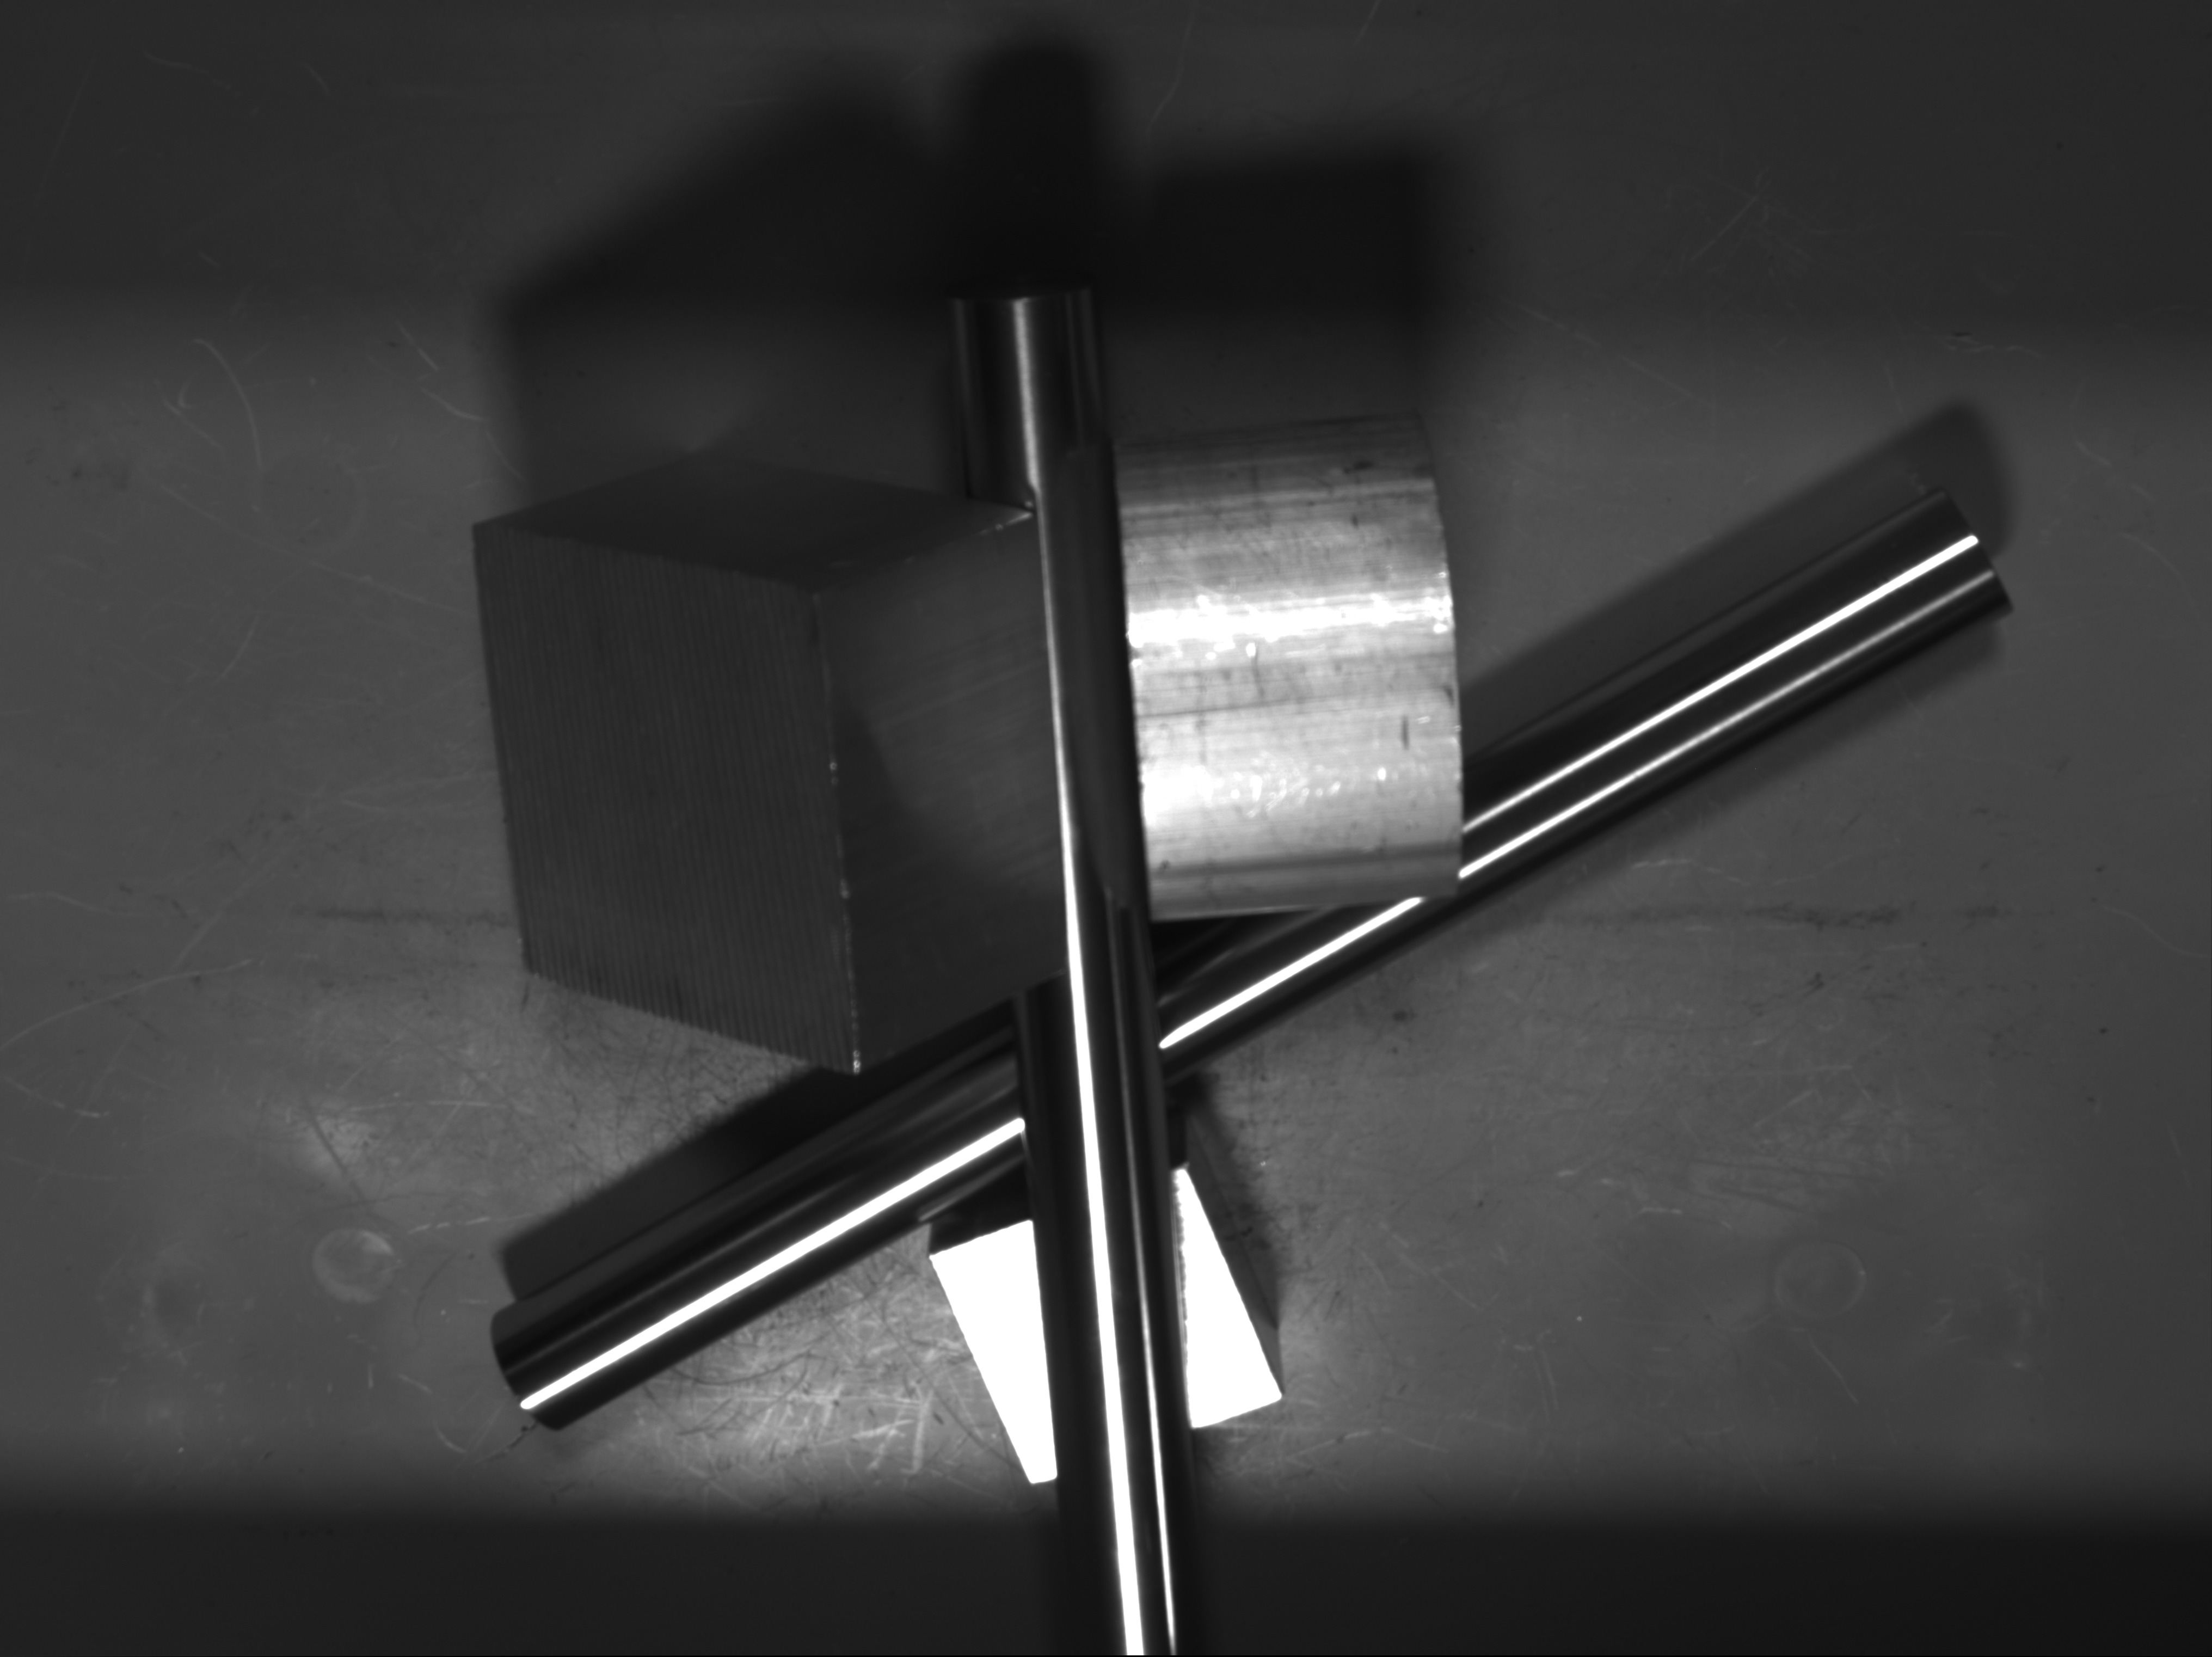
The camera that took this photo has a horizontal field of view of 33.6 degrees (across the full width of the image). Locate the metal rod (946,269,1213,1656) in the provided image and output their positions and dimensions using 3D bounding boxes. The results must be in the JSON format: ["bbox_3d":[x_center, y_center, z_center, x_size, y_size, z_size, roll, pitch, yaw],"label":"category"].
[{"bbox_3d":[-0.001,0.054,0.634,0.025,0.025,0.300,-4,109,1],"label":"metal rod"}]

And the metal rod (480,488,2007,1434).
[{"bbox_3d":[0.020,0.027,0.651,0.300,0.025,0.025,-30,107,10],"label":"metal rod"}]

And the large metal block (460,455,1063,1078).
[{"bbox_3d":[-0.056,-0.013,0.603,0.080,0.050,0.080,13,116,38],"label":"large metal block"}]

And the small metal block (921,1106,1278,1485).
[{"bbox_3d":[-0.001,0.086,0.673,0.050,0.025,0.050,-20,109,6],"label":"small metal block"}]

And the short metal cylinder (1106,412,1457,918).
[{"bbox_3d":[0.028,-0.027,0.603,0.050,0.080,0.080,-5,110,0],"label":"short metal cylinder"}]
